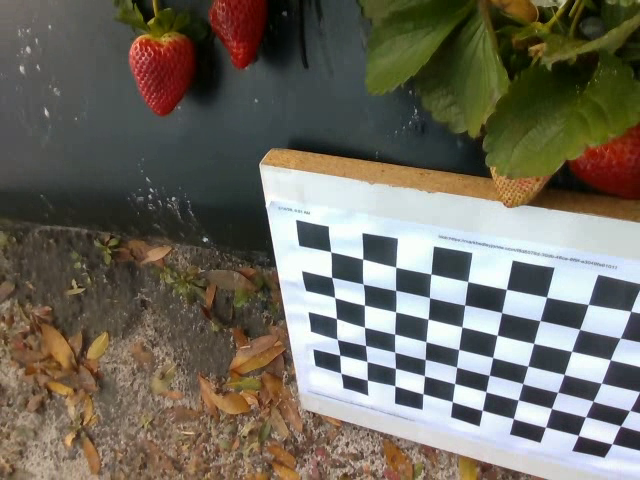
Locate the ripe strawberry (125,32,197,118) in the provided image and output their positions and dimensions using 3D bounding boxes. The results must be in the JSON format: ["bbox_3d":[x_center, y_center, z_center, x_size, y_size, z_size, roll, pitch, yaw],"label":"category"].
[{"bbox_3d":[-0.105,-0.109,0.397,0.050,0.061,0.045,5,5,28],"label":"ripe strawberry"}]

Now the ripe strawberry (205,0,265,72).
[{"bbox_3d":[-0.053,-0.128,0.361,0.042,0.053,0.034,1,7,32],"label":"ripe strawberry"}]
